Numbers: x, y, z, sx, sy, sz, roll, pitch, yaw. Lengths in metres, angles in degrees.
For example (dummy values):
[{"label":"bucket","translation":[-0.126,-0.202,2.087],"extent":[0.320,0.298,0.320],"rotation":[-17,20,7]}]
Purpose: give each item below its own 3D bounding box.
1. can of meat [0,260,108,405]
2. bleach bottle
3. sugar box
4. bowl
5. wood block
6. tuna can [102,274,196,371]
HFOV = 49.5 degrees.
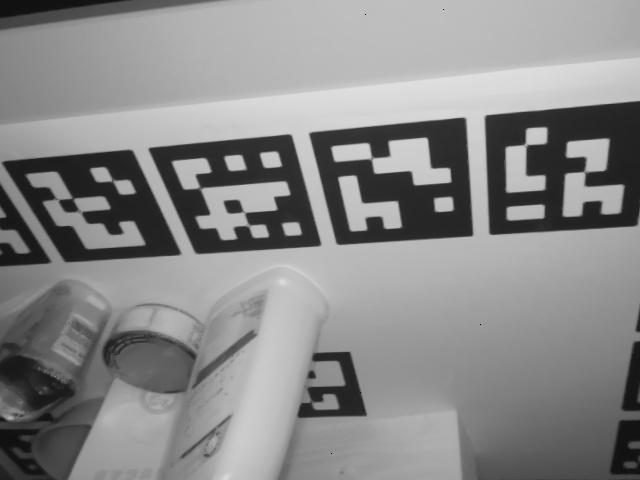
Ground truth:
[{"label":"can of meat","translation":[-0.229,0.077,0.584],"extent":[0.058,0.084,0.100],"rotation":[35,127,-25]},{"label":"bleach bottle","translation":[-0.062,0.105,0.474],"extent":[0.101,0.253,0.068],"rotation":[-33,120,30]},{"label":"sugar box","translation":[-0.149,0.166,0.581],"extent":[0.093,0.178,0.045],"rotation":[5,129,-1]},{"label":"bowl","translation":[-0.193,0.198,0.698],"extent":[0.162,0.055,0.160],"rotation":[0,130,1]},{"label":"wood block","translation":[0.064,0.200,0.651],"extent":[0.204,0.091,0.091],"rotation":[-17,122,21]},{"label":"tuna can","translation":[-0.138,0.071,0.593],"extent":[0.085,0.034,0.085],"rotation":[3,127,5]}]
